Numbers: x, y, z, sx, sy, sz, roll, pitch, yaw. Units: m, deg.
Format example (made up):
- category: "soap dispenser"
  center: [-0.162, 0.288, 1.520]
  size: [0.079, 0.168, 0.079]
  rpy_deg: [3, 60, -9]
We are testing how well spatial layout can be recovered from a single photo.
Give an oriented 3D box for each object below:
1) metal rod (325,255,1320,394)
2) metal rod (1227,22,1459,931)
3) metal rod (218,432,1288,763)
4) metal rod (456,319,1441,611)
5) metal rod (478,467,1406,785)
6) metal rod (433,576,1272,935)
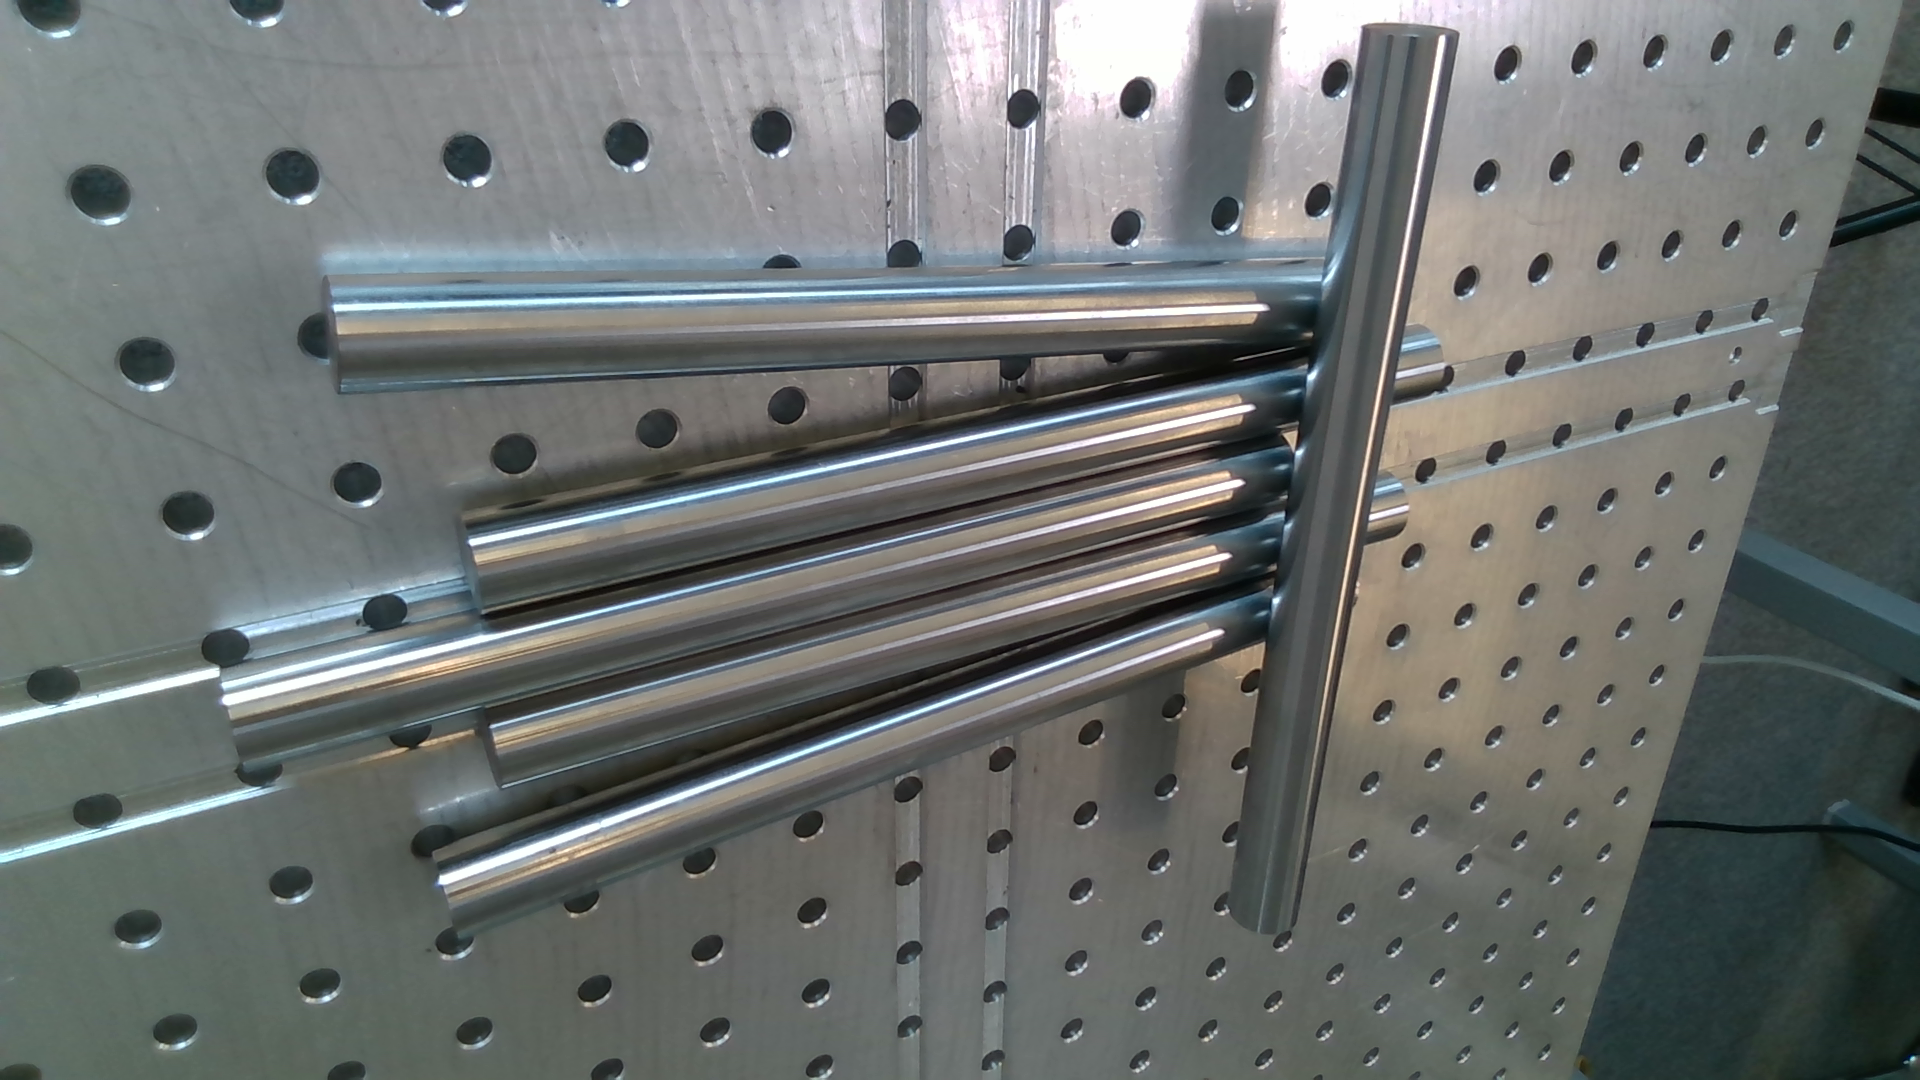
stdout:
- category: "metal rod"
  center: [0.000, -0.060, 0.358]
  size: [0.300, 0.025, 0.025]
  rpy_deg: [-7, 118, -28]
- category: "metal rod"
  center: [0.113, -0.001, 0.429]
  size: [0.025, 0.025, 0.301]
  rpy_deg: [-13, 121, -26]
- category: "metal rod"
  center: [-0.033, 0.007, 0.375]
  size: [0.300, 0.025, 0.025]
  rpy_deg: [-13, 121, -25]
- category: "metal rod"
  center: [0.016, -0.028, 0.388]
  size: [0.300, 0.025, 0.025]
  rpy_deg: [-14, 121, -25]
- category: "metal rod"
  center: [0.013, 0.018, 0.411]
  size: [0.300, 0.025, 0.025]
  rpy_deg: [-14, 121, -25]
- category: "metal rod"
  center: [-0.002, 0.052, 0.419]
  size: [0.300, 0.025, 0.025]
  rpy_deg: [-17, 122, -24]
